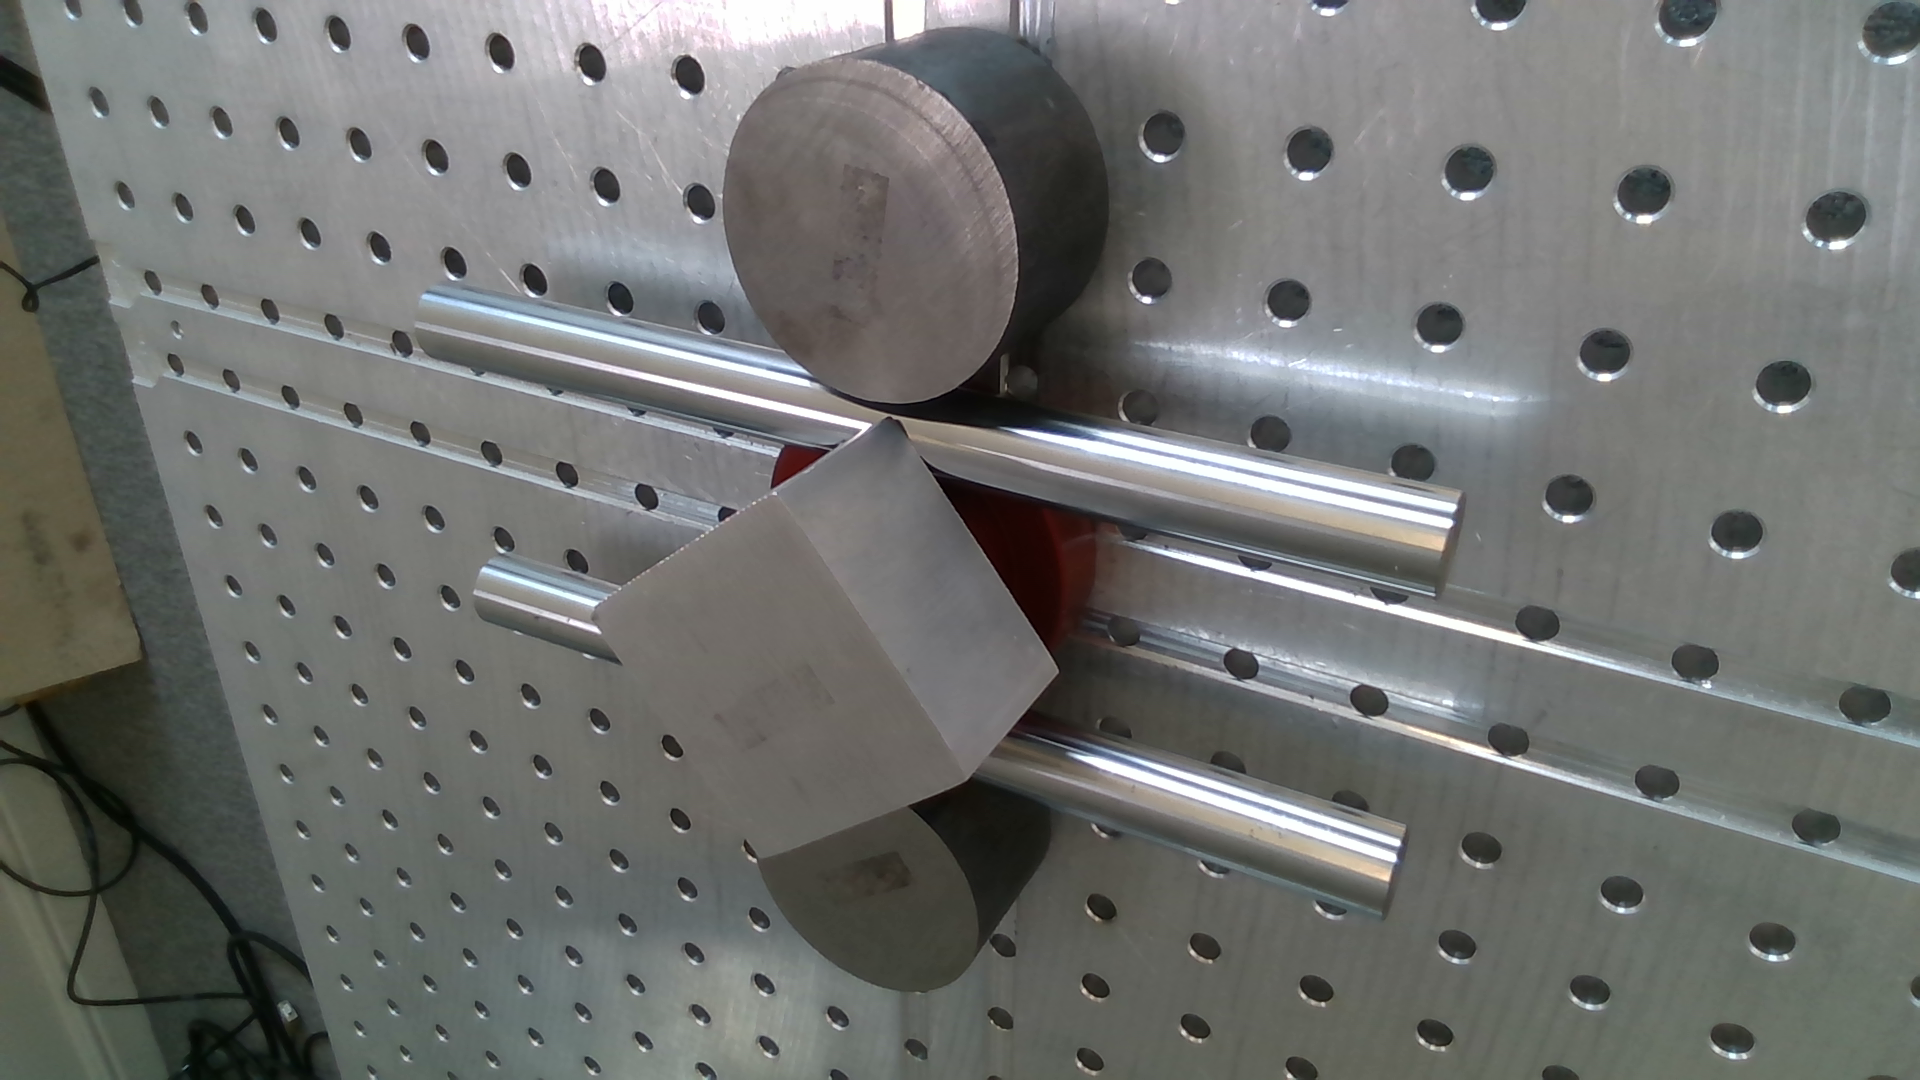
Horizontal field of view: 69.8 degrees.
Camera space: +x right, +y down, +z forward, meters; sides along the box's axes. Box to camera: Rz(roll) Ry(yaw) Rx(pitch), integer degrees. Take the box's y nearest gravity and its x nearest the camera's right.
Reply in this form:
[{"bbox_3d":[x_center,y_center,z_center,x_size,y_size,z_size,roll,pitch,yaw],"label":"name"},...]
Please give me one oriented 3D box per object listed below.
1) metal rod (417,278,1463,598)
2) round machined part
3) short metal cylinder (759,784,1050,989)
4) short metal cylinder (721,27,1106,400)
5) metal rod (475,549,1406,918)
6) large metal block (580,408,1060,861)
[{"bbox_3d":[-0.025,-0.034,0.362,0.300,0.025,0.025,15,122,25],"label":"metal rod"},{"bbox_3d":[-0.014,0.003,0.392,0.098,0.042,0.098,15,122,25],"label":"round machined part"},{"bbox_3d":[-0.018,0.094,0.438,0.080,0.050,0.080,15,122,25],"label":"short metal cylinder"},{"bbox_3d":[-0.011,-0.081,0.338,0.080,0.050,0.080,15,122,25],"label":"short metal cylinder"},{"bbox_3d":[-0.024,0.049,0.406,0.300,0.025,0.025,14,122,25],"label":"metal rod"},{"bbox_3d":[-0.036,0.026,0.351,0.080,0.050,0.080,-28,99,39],"label":"large metal block"}]
